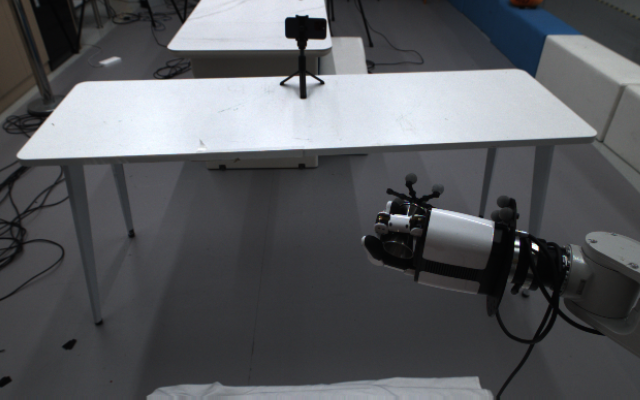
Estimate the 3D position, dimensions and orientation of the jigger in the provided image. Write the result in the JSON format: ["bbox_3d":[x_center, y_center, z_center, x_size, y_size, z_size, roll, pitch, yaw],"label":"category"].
[{"bbox_3d":[0.120,0.038,0.675,0.043,0.043,0.071,16,58,19],"label":"jigger"}]
